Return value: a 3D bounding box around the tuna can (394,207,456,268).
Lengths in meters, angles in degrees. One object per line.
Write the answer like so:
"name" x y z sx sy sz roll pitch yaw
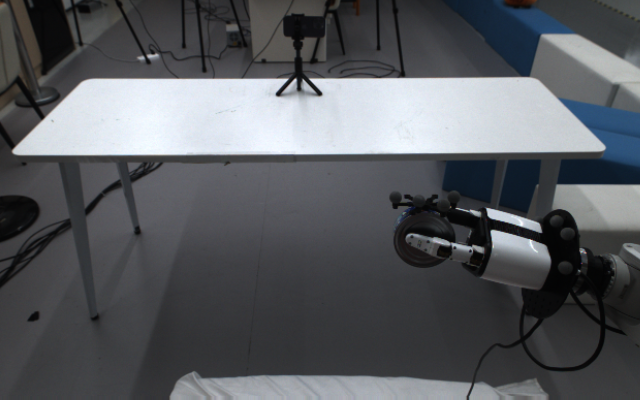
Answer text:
"tuna can" 0.149 0.051 0.691 0.085 0.085 0.034 4 17 3
